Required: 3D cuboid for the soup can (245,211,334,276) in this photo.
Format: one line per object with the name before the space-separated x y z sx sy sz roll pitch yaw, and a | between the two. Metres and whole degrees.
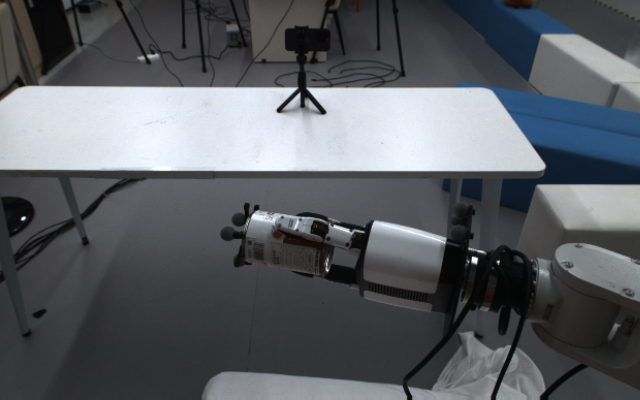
soup can | -0.034 0.052 0.591 0.101 0.067 0.067 8 35 10
